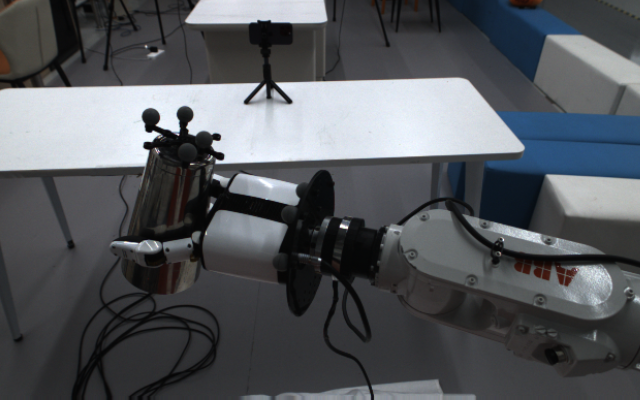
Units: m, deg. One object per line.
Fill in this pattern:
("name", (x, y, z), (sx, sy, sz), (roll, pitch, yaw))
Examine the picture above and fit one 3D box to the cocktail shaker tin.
("cocktail shaker tin", (-0.165, 0.012, 0.544), (0.093, 0.170, 0.093), (16, 31, -10))
